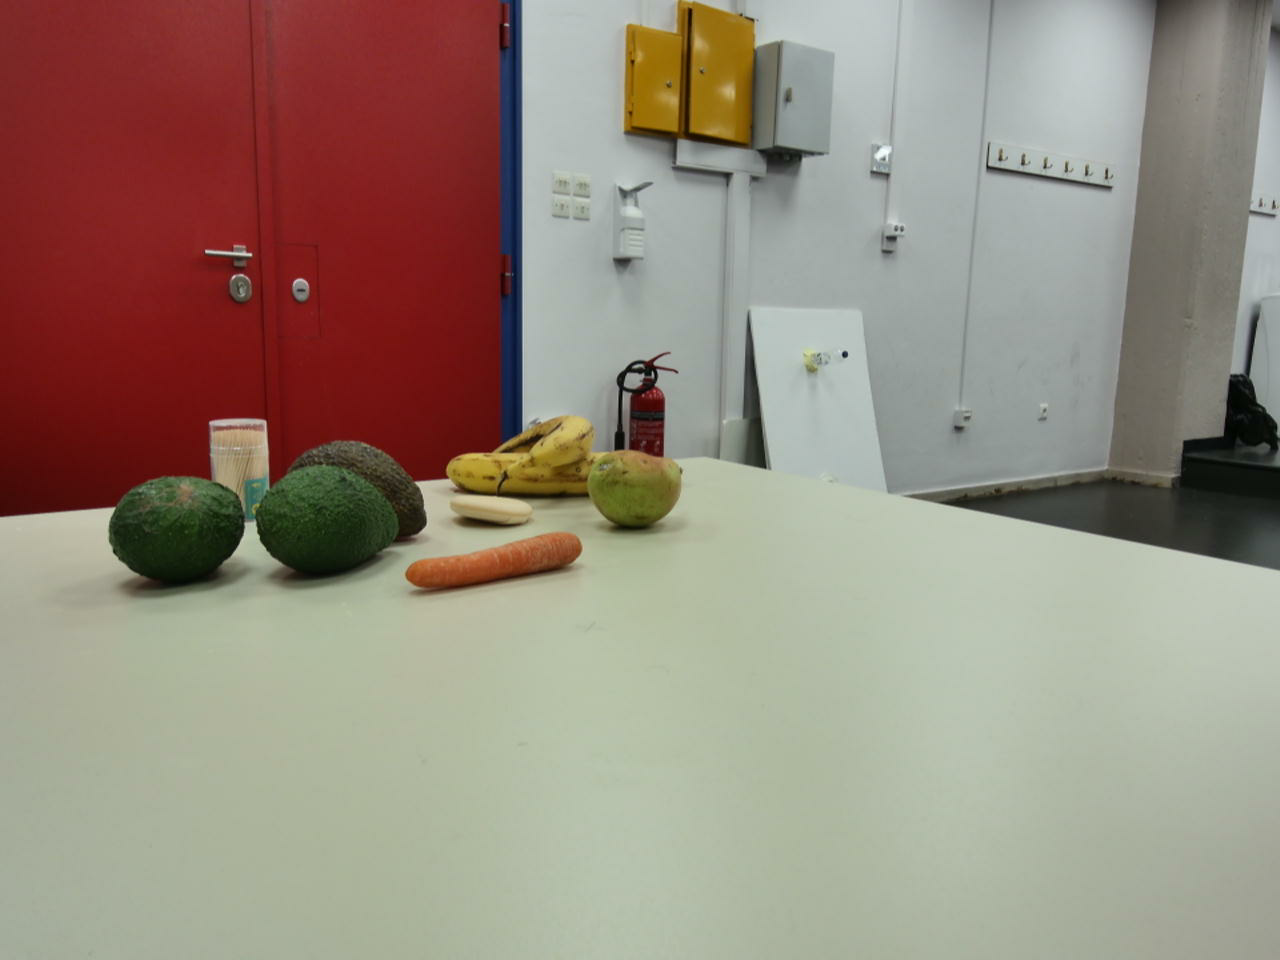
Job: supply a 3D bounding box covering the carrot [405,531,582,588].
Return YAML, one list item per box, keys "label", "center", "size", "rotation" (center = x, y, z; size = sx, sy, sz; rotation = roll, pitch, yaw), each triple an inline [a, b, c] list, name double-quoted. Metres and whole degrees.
- label: "carrot"
  center: [-0.087, 0.049, 0.614]
  size: [0.122, 0.023, 0.024]
  rotation: [-6, 10, -38]
